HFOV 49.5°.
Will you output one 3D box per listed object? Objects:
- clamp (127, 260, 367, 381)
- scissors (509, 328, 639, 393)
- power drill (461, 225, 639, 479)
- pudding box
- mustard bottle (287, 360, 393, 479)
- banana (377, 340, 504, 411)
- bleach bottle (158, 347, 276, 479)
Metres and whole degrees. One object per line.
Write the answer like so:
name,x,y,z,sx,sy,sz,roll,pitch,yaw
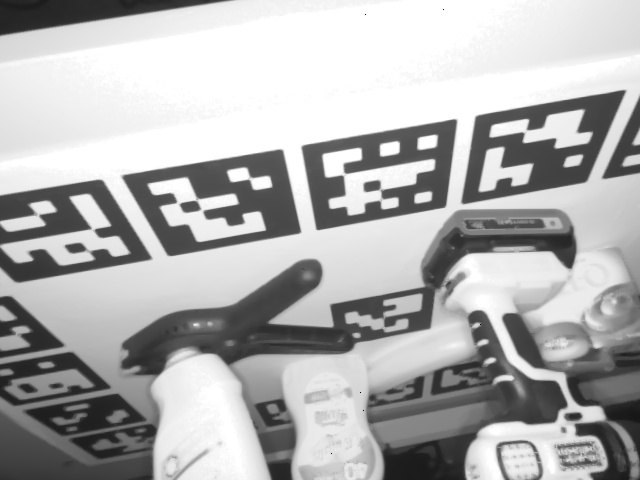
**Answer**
clamp,-0.070,0.087,0.603,0.202,0.037,0.164,-12,142,4
scissors,0.263,0.113,0.594,0.205,0.016,0.086,10,135,-19
power drill,0.191,0.081,0.510,0.186,0.188,0.056,-3,150,-15
pudding box,0.245,0.059,0.626,0.114,0.090,0.038,-6,150,-5
mustard bottle,0.022,0.212,0.697,0.097,0.192,0.057,1,143,-12
banana,0.121,0.152,0.753,0.194,0.039,0.075,-35,154,29
bleach bottle,-0.089,0.185,0.552,0.102,0.251,0.068,-25,146,8
